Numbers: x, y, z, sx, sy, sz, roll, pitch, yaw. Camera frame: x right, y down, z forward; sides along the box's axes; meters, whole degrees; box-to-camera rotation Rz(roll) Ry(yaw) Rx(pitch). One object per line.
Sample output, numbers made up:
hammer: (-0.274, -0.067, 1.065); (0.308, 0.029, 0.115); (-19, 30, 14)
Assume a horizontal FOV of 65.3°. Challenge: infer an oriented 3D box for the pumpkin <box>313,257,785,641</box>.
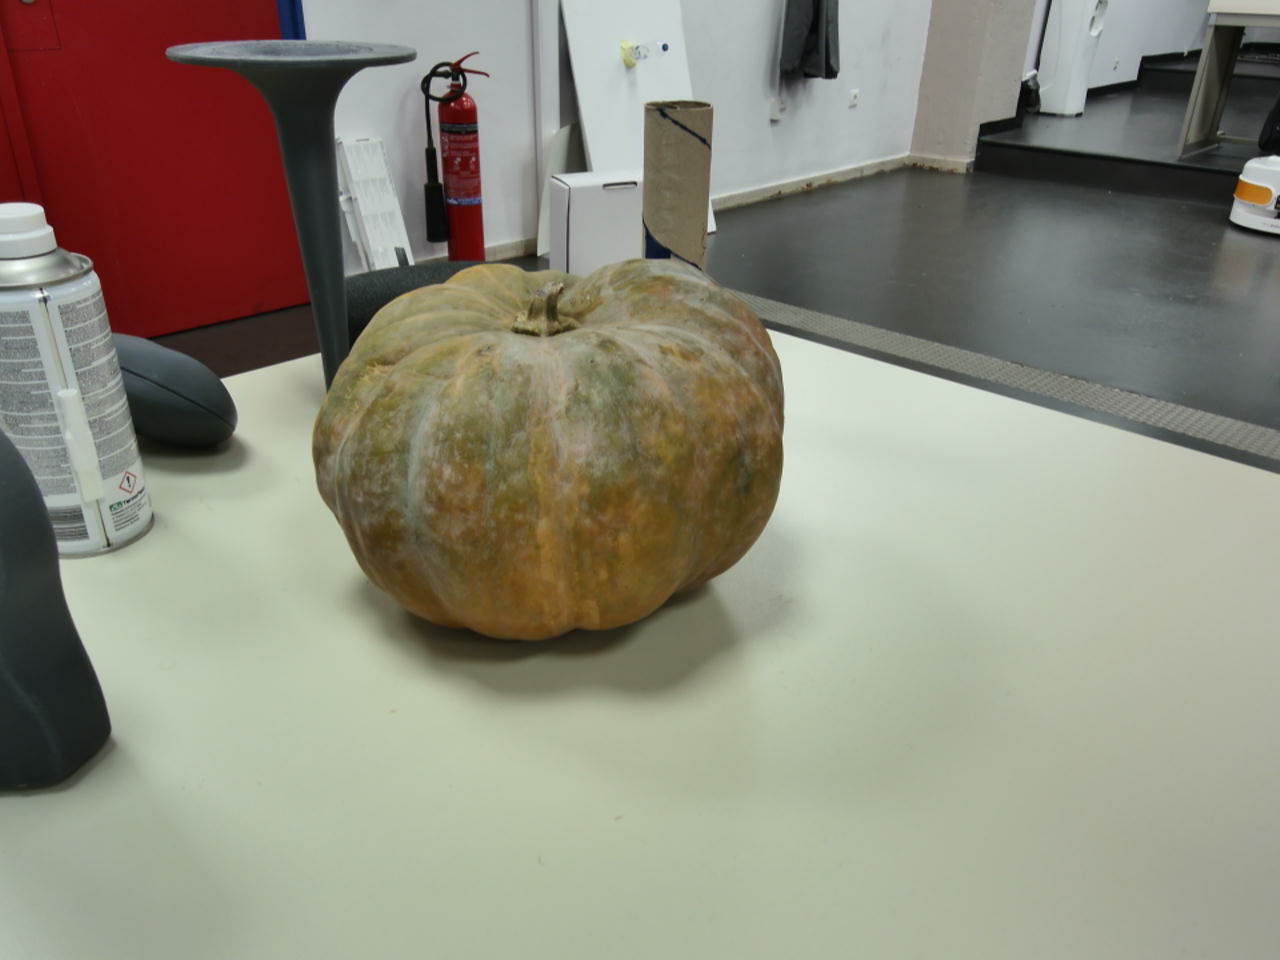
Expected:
pumpkin: (-0.046, -0.023, 0.529); (0.252, 0.169, 0.251); (0, 26, 0)
